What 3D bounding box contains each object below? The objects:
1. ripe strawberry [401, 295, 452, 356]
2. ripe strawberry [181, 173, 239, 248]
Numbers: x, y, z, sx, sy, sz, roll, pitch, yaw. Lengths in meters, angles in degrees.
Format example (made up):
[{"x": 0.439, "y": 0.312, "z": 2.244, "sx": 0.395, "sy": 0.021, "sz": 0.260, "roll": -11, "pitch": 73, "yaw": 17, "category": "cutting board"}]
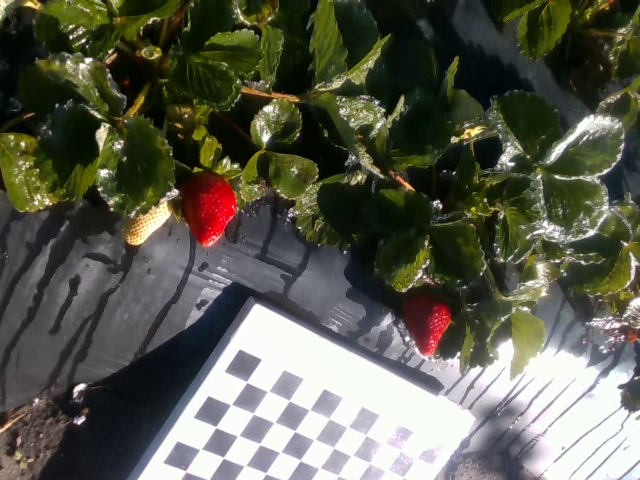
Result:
[{"x": 0.099, "y": 0.081, "z": 0.556, "sx": 0.049, "sy": 0.061, "sz": 0.044, "roll": 24, "pitch": -23, "yaw": -26, "category": "ripe strawberry"}, {"x": -0.084, "y": -0.016, "z": 0.459, "sx": 0.043, "sy": 0.061, "sz": 0.046, "roll": 16, "pitch": -29, "yaw": -25, "category": "ripe strawberry"}]
